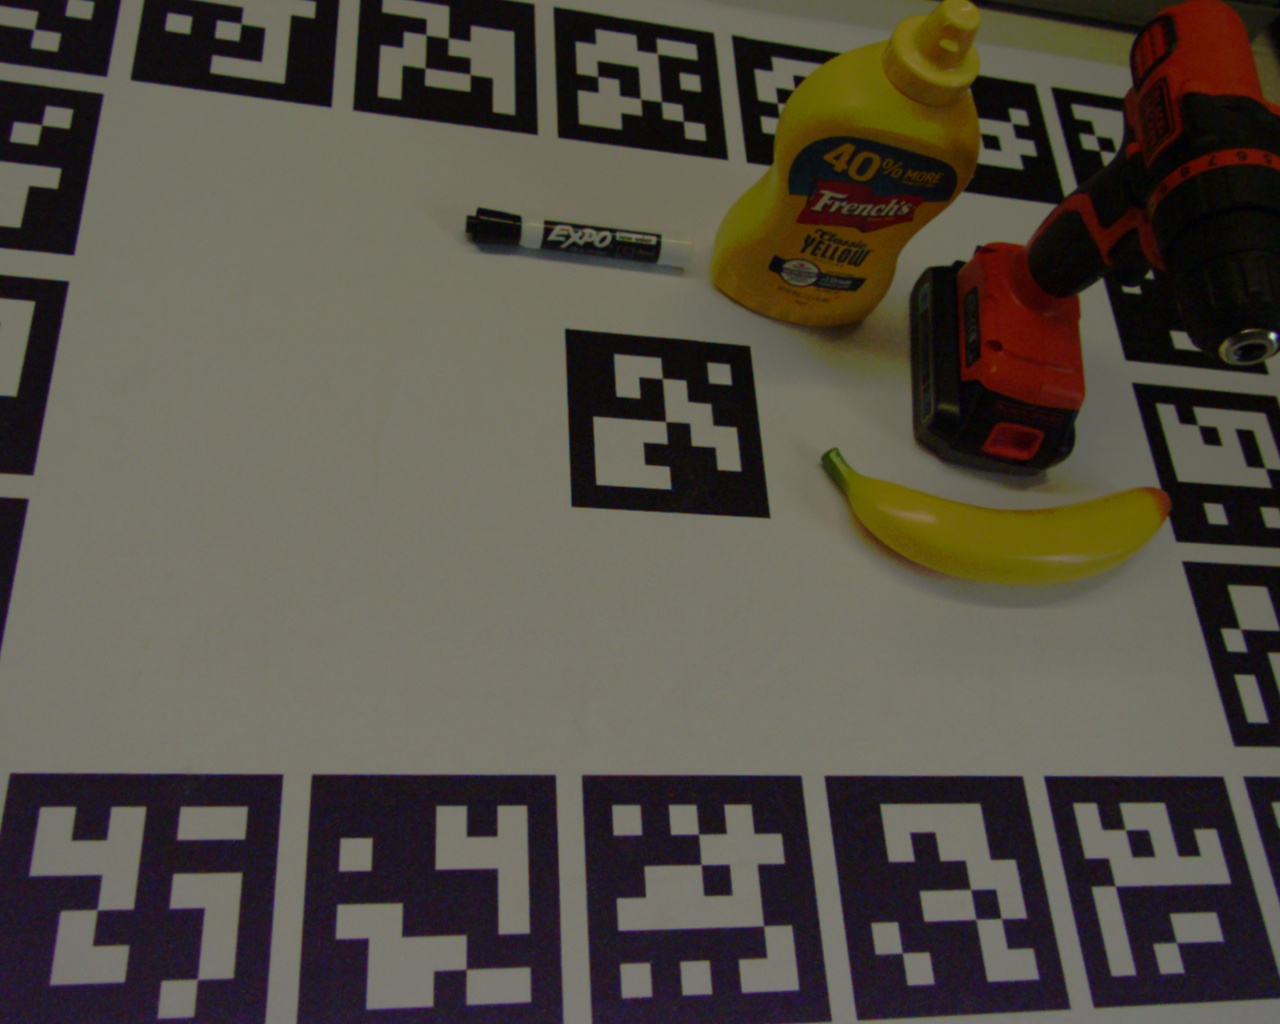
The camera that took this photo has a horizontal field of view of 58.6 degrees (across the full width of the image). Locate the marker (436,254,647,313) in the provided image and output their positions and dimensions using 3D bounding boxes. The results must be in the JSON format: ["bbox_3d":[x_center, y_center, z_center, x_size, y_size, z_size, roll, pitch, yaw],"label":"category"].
[{"bbox_3d":[-0.056,-0.131,0.654,0.120,0.020,0.020,5,67,-13],"label":"marker"}]

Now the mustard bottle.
[{"bbox_3d":[0.089,-0.149,0.604,0.096,0.192,0.058,14,64,-11],"label":"mustard bottle"}]

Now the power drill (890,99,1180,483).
[{"bbox_3d":[0.198,-0.091,0.589,0.057,0.188,0.185,16,61,-11],"label":"power drill"}]

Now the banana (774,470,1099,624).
[{"bbox_3d":[0.168,0.026,0.637,0.196,0.039,0.074,10,66,-9],"label":"banana"}]
